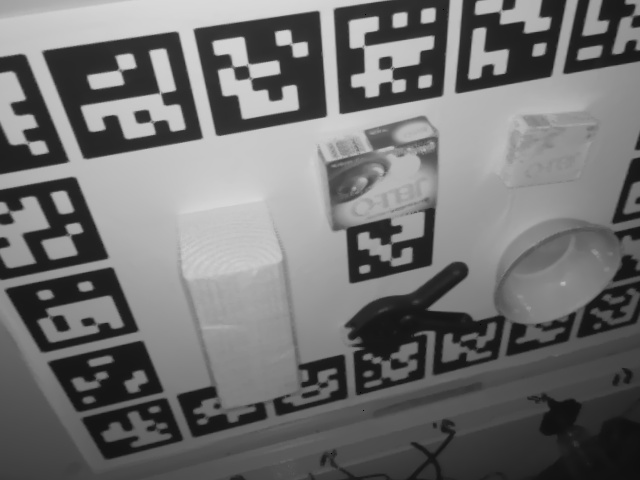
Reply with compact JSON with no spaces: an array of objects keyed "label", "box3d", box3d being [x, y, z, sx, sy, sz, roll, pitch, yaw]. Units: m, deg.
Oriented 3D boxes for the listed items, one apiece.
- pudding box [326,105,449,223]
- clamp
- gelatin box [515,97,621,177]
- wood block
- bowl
[{"label":"pudding box","box3d":[0.066,-0.073,0.661,0.114,0.039,0.089,-14,126,-9]},{"label":"clamp","box3d":[0.132,0.083,0.817,0.165,0.037,0.121,-19,131,1]},{"label":"gelatin box","box3d":[0.248,-0.103,0.696,0.090,0.030,0.072,-6,127,-13]},{"label":"wood block","box3d":[-0.073,0.064,0.692,0.090,0.091,0.204,-10,129,-8]},{"label":"bowl","box3d":[0.288,0.025,0.804,0.163,0.055,0.160,-8,127,-10]}]
